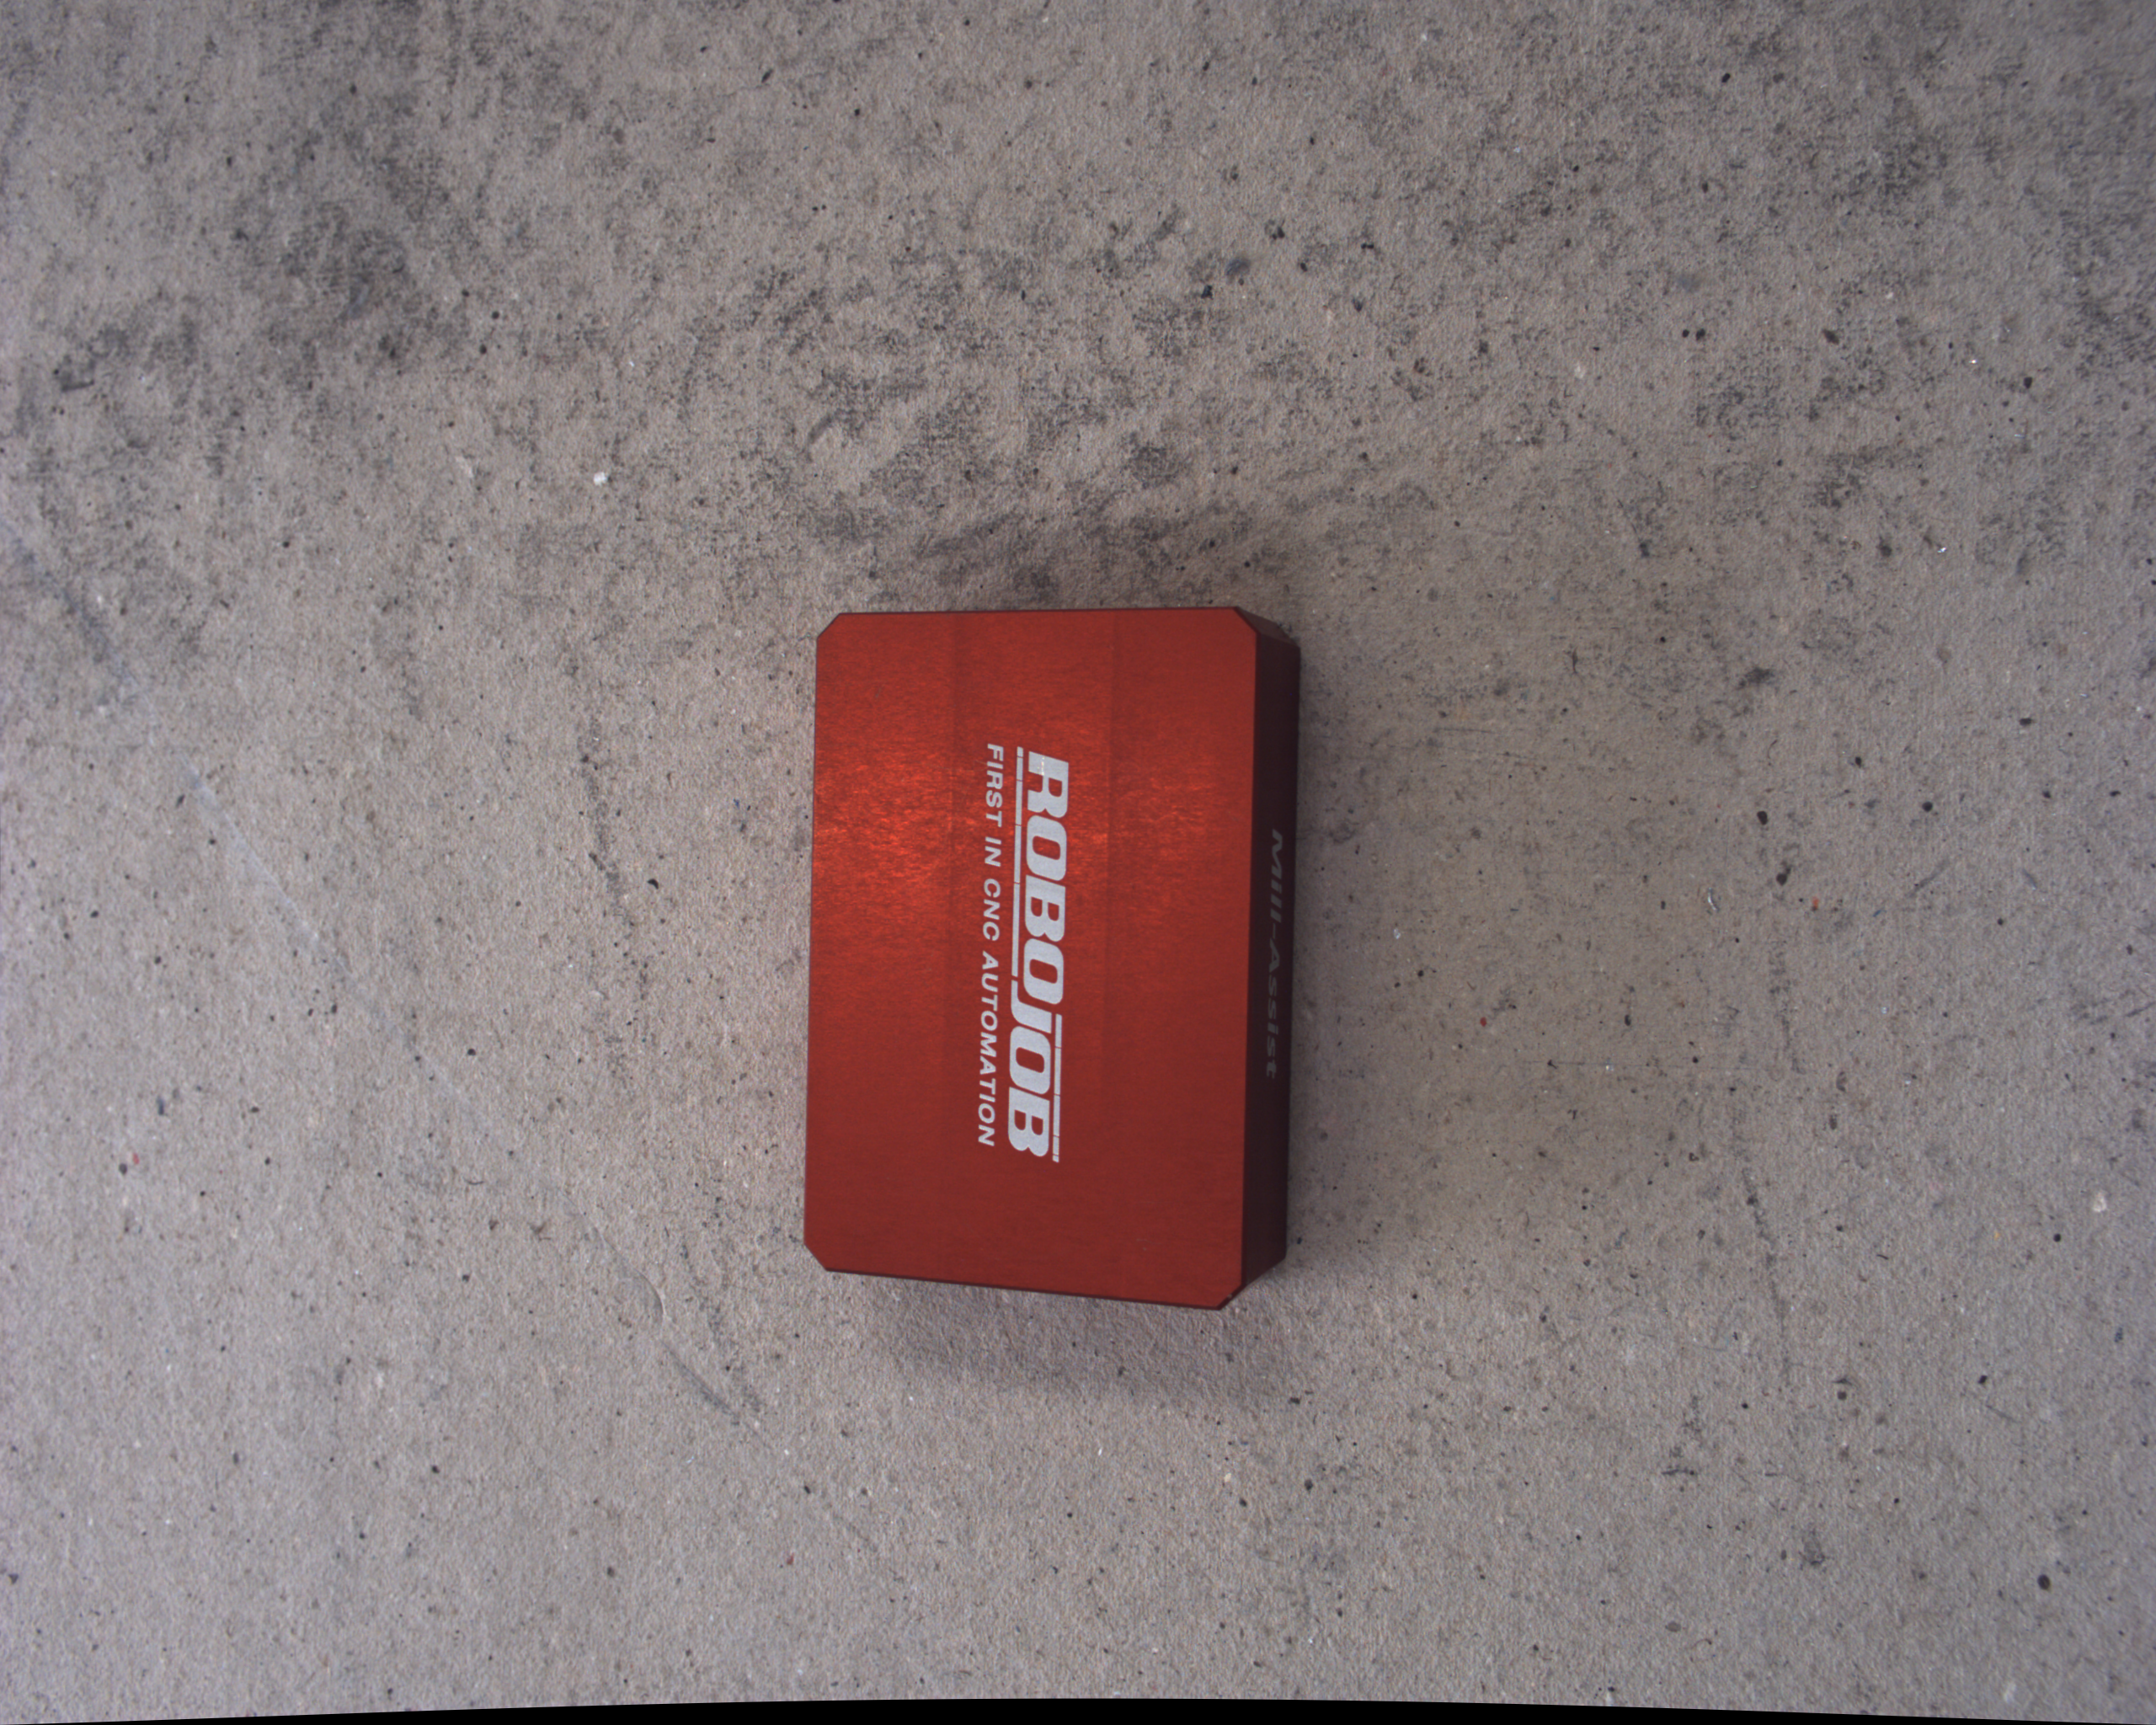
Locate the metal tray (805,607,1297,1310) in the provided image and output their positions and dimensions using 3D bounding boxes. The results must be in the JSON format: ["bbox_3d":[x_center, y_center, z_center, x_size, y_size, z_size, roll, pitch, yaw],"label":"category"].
[{"bbox_3d":[-0.006,0.017,0.409,0.090,0.030,0.129,1,91,19],"label":"metal tray"}]
